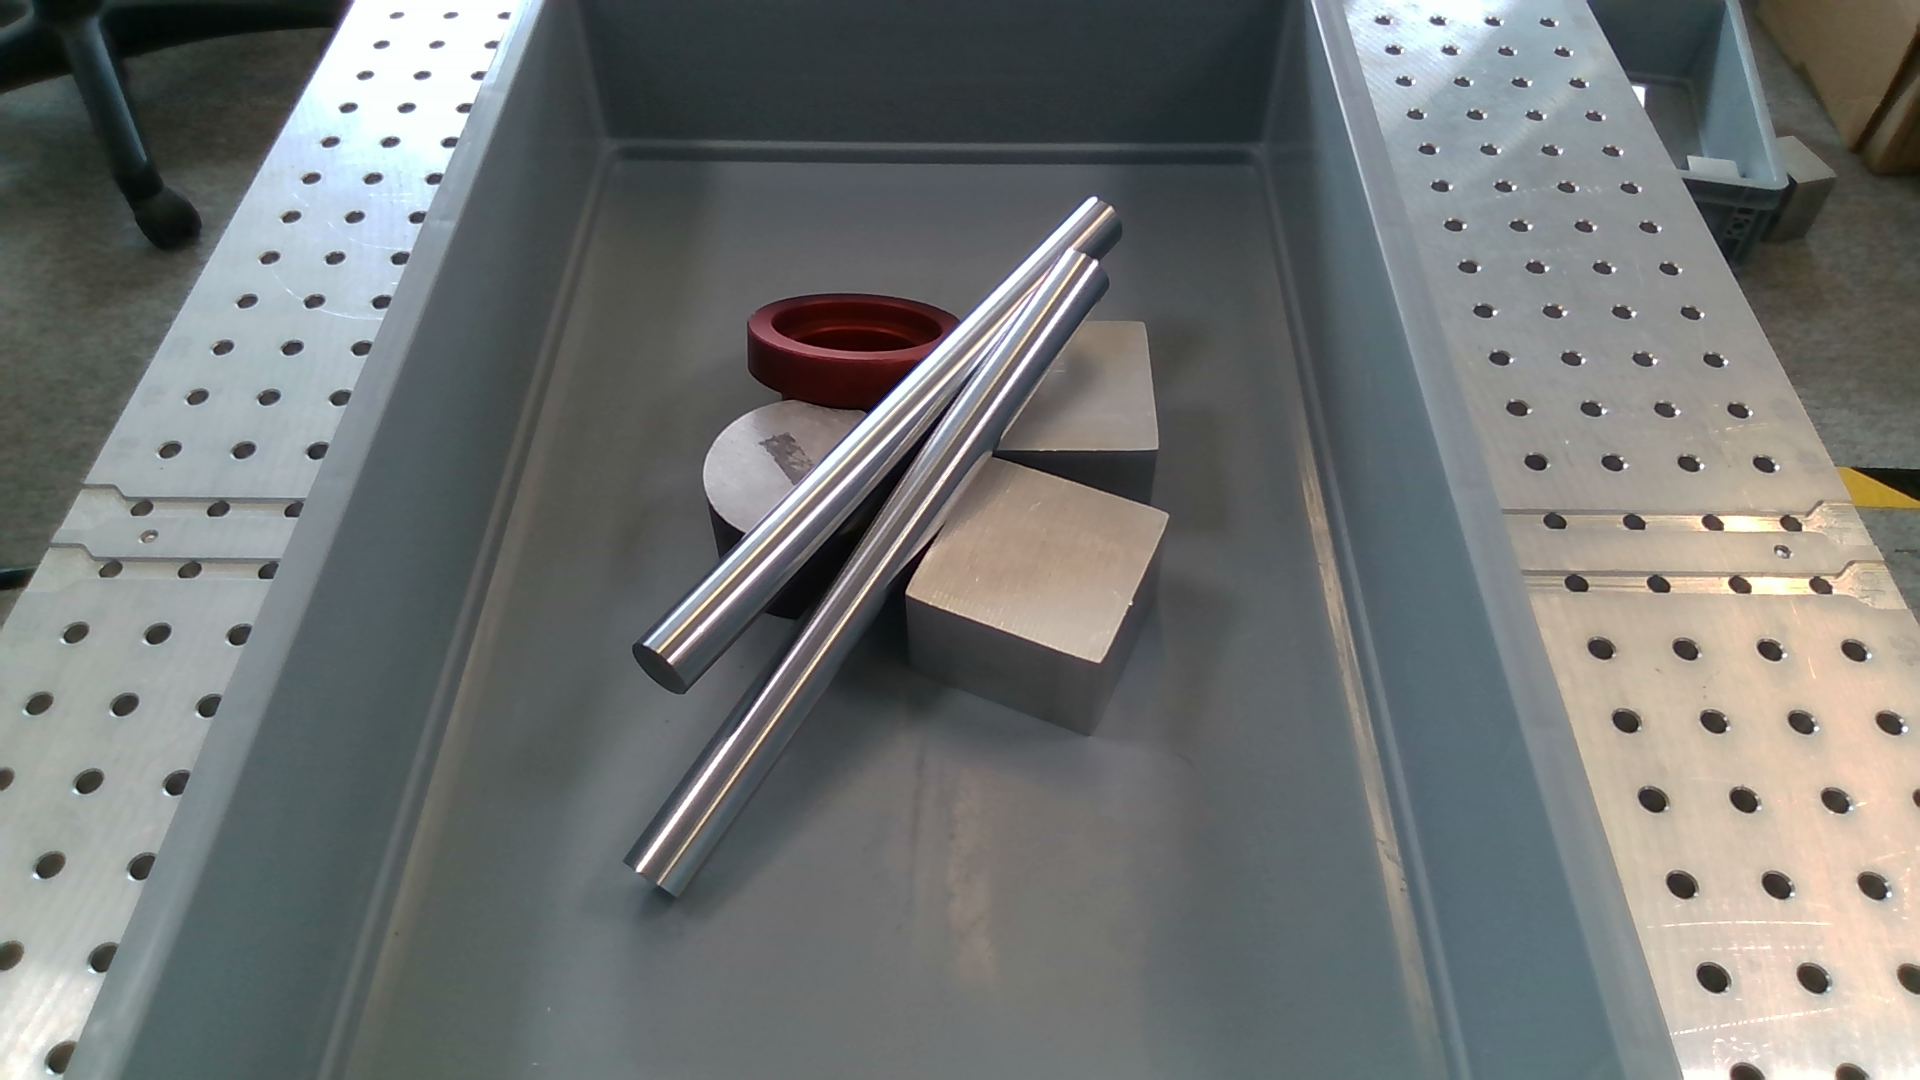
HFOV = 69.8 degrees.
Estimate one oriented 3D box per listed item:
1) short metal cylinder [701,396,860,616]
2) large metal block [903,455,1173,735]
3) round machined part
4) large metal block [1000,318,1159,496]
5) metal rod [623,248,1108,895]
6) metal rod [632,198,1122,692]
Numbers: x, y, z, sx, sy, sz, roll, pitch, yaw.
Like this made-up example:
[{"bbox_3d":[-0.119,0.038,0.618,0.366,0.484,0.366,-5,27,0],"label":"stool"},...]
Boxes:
[{"bbox_3d":[-0.065,-0.015,0.580,0.080,0.050,0.080,0,50,0],"label":"short metal cylinder"},{"bbox_3d":[0.031,0.020,0.552,0.080,0.050,0.080,19,53,15],"label":"large metal block"},{"bbox_3d":[-0.047,-0.078,0.625,0.098,0.042,0.098,3,26,-1],"label":"round machined part"},{"bbox_3d":[0.042,-0.053,0.609,0.080,0.050,0.080,1,50,0],"label":"large metal block"},{"bbox_3d":[-0.028,0.002,0.535,0.025,0.025,0.299,27,70,21],"label":"metal rod"},{"bbox_3d":[-0.021,-0.051,0.561,0.025,0.025,0.299,28,56,21],"label":"metal rod"}]
